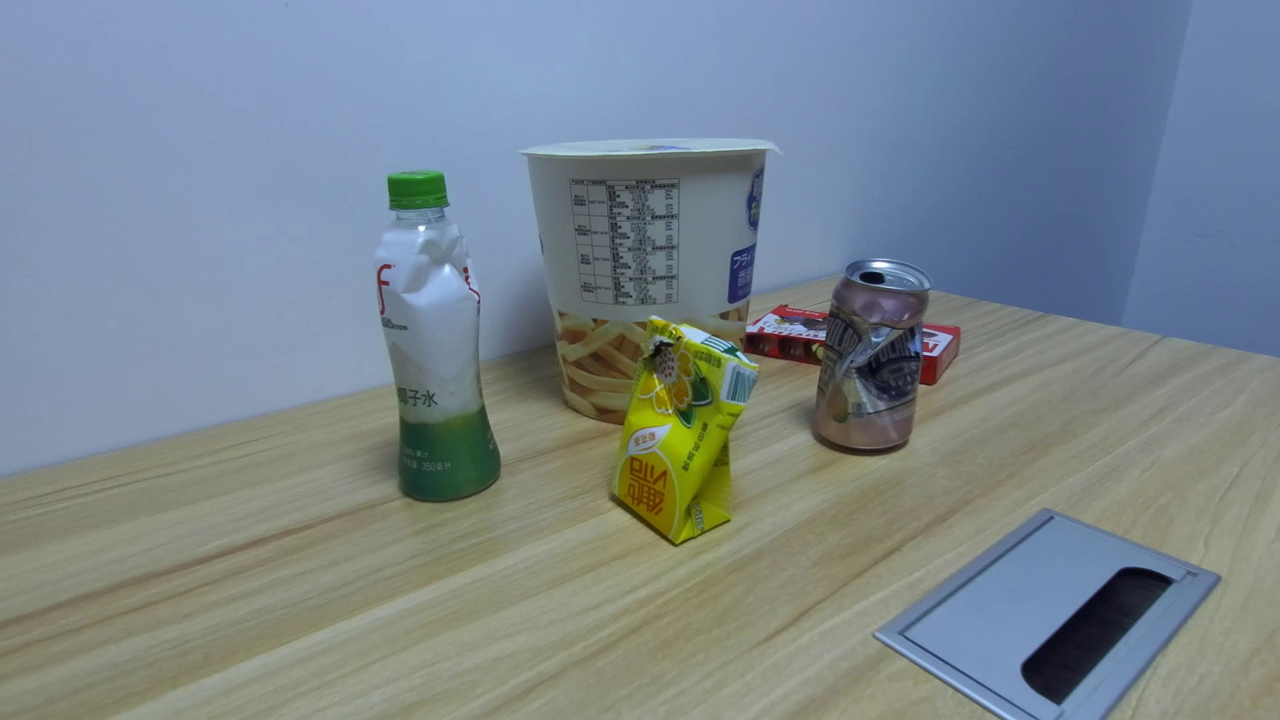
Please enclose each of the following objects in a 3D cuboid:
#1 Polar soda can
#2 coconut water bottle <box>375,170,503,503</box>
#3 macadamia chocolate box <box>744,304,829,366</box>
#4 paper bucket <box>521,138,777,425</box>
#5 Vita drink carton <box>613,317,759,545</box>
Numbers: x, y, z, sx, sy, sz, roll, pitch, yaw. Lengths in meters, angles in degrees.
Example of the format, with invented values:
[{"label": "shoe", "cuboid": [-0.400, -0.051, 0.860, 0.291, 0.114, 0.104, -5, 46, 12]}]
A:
[{"label": "Polar soda can", "cuboid": [0.156, 0.000, 0.468, 0.066, 0.122, 0.071, 6, 23, 6]}, {"label": "coconut water bottle", "cuboid": [-0.121, -0.013, 0.416, 0.069, 0.186, 0.069, -1, 20, 1]}, {"label": "macadamia chocolate box", "cuboid": [0.192, -0.019, 0.653, 0.182, 0.028, 0.106, 11, 24, 32]}, {"label": "paper bucket", "cuboid": [0.009, -0.066, 0.549, 0.198, 0.194, 0.198, -1, 20, 1]}, {"label": "Vita drink carton", "cuboid": [0.026, 0.036, 0.392, 0.042, 0.108, 0.086, 2, 17, -38]}]
